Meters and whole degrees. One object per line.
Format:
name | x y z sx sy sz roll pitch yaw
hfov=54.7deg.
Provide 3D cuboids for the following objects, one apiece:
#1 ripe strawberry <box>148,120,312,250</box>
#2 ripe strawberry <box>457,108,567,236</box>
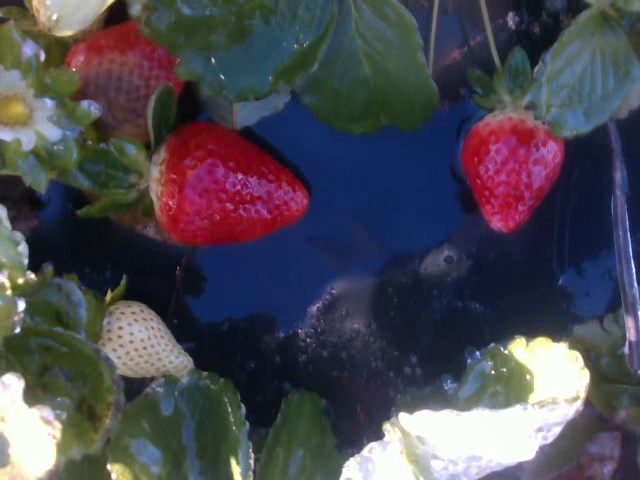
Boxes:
ripe strawberry | -0.027 -0.013 0.205 0.056 0.044 0.040 12 21 -18
ripe strawberry | 0.067 -0.022 0.207 0.039 0.047 0.040 2 13 -14
